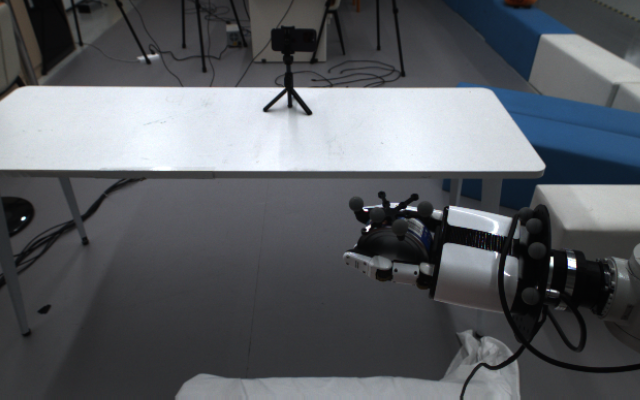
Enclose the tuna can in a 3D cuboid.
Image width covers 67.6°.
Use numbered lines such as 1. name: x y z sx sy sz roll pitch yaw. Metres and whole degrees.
1. tuna can: 0.092 0.053 0.578 0.085 0.085 0.034 14 41 16
